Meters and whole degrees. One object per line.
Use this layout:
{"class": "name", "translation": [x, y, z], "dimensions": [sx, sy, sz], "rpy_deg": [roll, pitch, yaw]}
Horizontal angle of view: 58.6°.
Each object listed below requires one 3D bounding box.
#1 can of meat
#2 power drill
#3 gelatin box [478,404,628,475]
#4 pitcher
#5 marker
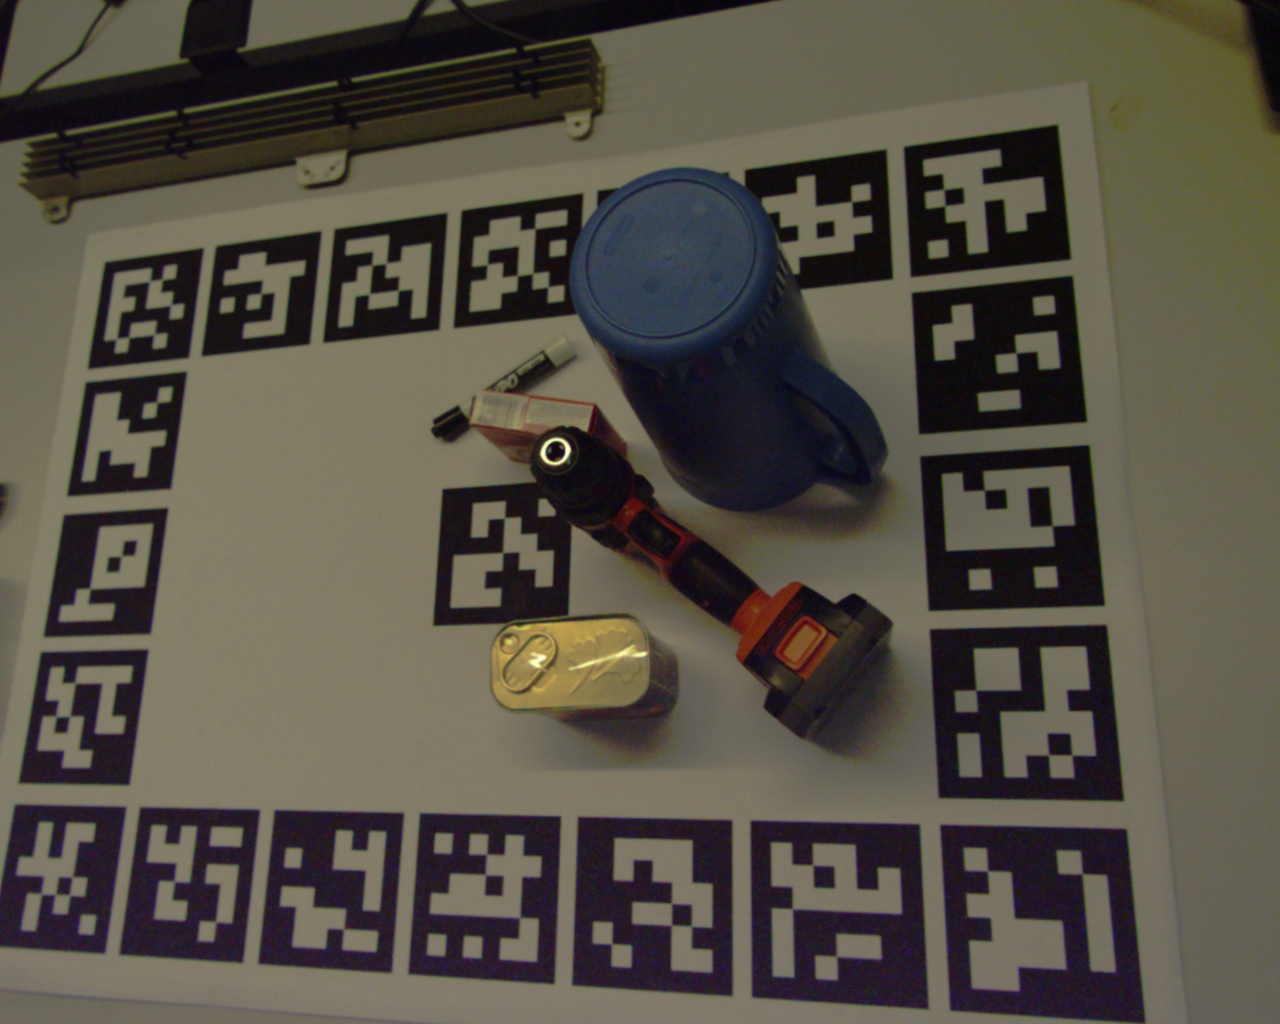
{"class": "can of meat", "translation": [-0.035, 0.103, 0.755], "dimensions": [0.102, 0.083, 0.058], "rpy_deg": [-5, 72, 15]}
{"class": "power drill", "translation": [0.018, 0.025, 0.710], "dimensions": [0.188, 0.183, 0.057], "rpy_deg": [32, 89, 16]}
{"class": "gelatin box", "translation": [-0.060, -0.051, 0.813], "dimensions": [0.090, 0.072, 0.030], "rpy_deg": [7, 82, 17]}
{"class": "pitcher", "translation": [0.059, -0.084, 0.702], "dimensions": [0.191, 0.240, 0.133], "rpy_deg": [30, 89, 28]}
{"class": "marker", "translation": [-0.106, -0.094, 0.864], "dimensions": [0.121, 0.019, 0.020], "rpy_deg": [-30, 70, 8]}
